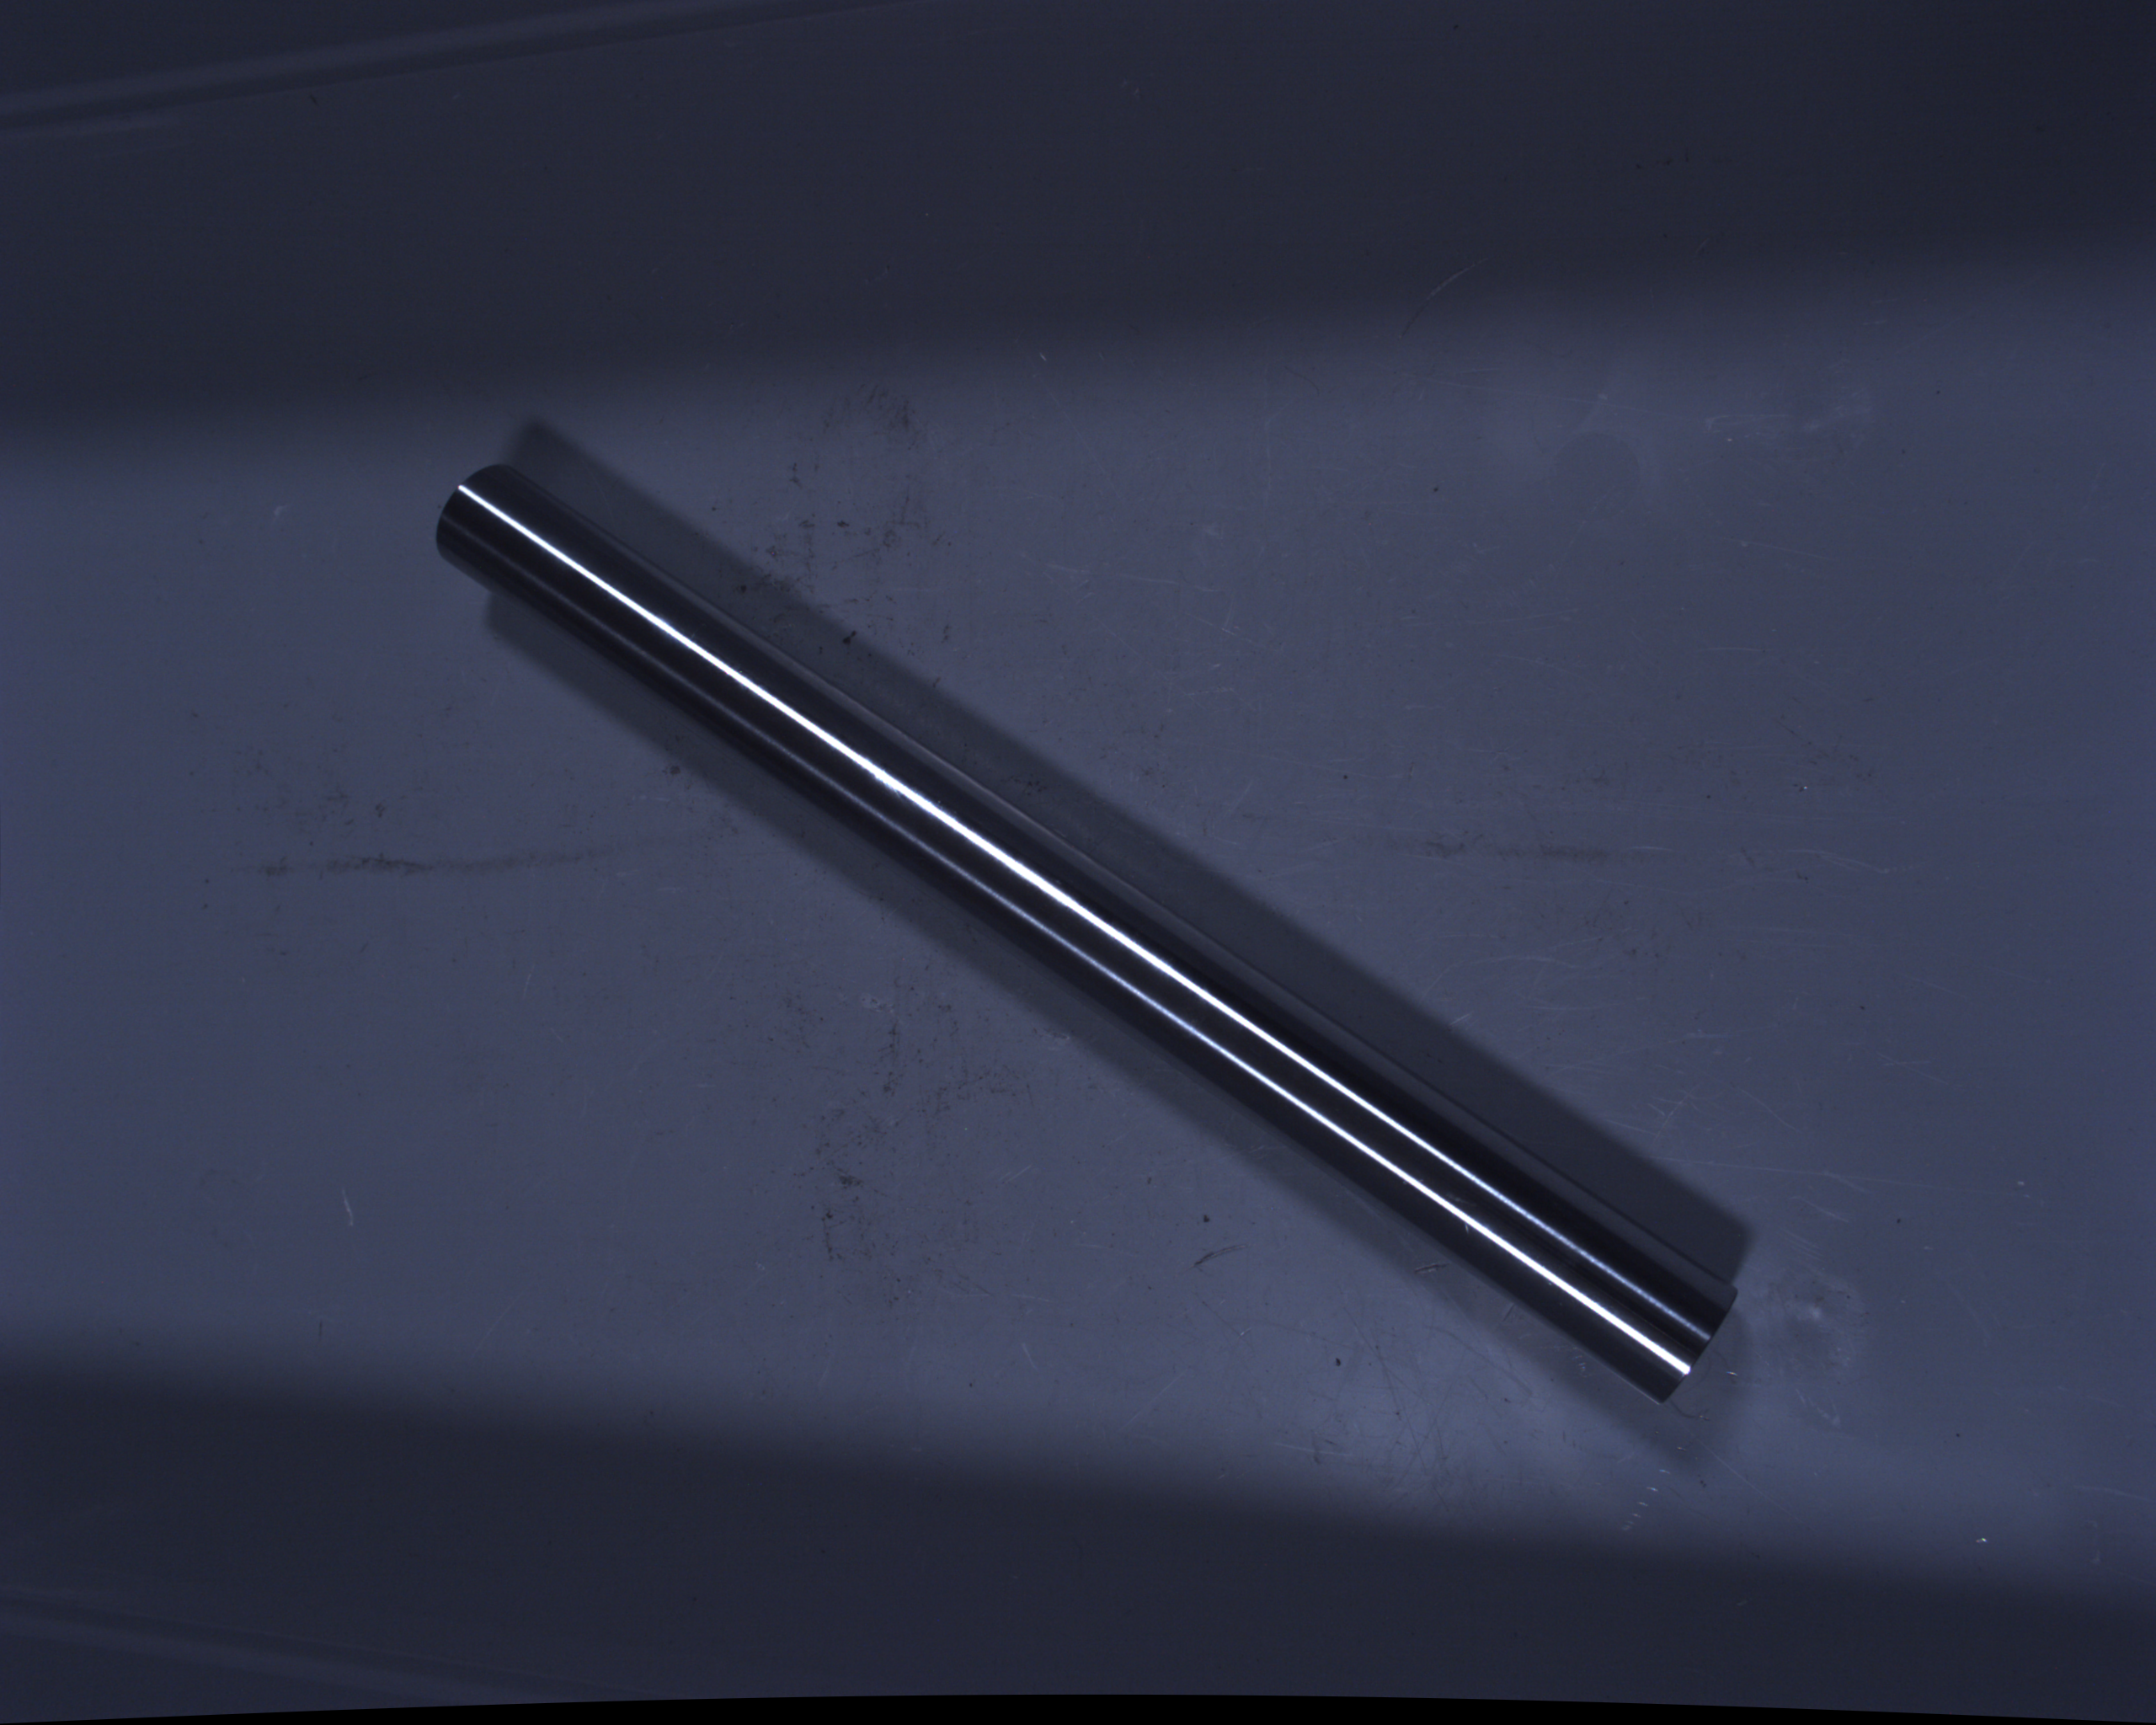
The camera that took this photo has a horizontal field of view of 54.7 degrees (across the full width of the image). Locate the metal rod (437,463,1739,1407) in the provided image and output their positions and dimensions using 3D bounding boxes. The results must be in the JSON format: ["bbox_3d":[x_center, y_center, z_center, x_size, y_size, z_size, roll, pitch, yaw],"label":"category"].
[{"bbox_3d":[-0.010,0.005,0.411,0.300,0.025,0.025,34,101,16],"label":"metal rod"}]
